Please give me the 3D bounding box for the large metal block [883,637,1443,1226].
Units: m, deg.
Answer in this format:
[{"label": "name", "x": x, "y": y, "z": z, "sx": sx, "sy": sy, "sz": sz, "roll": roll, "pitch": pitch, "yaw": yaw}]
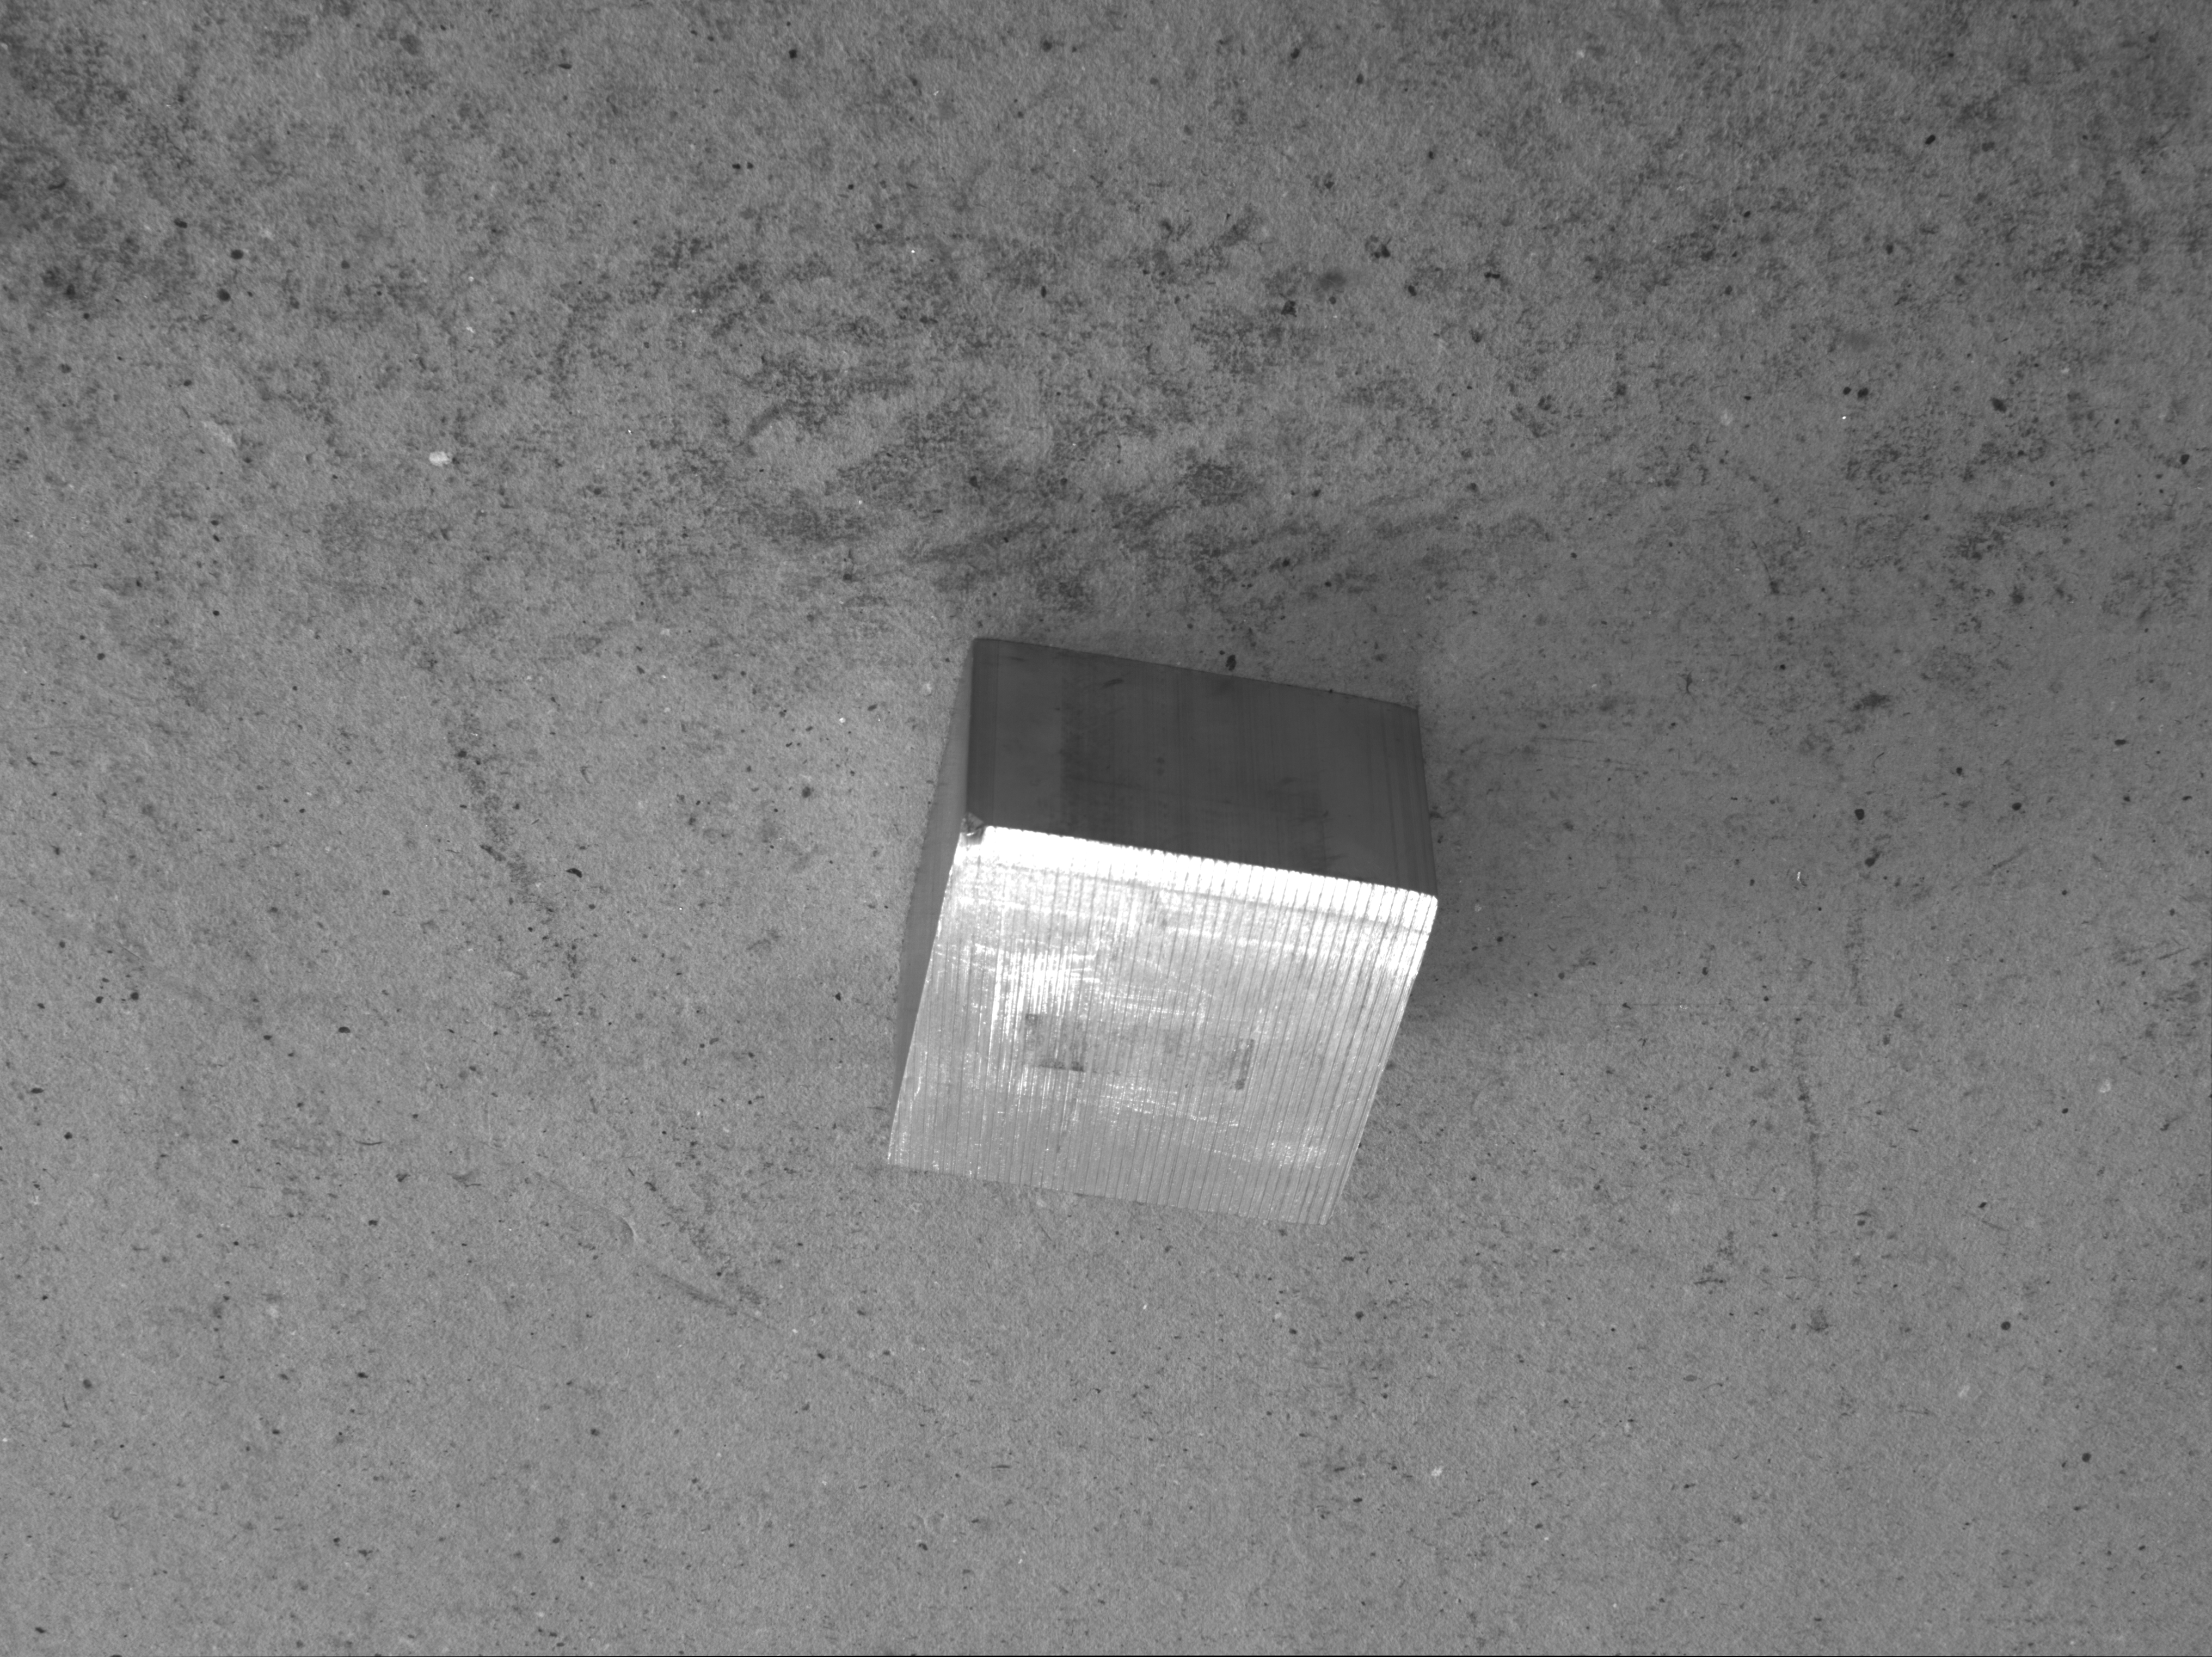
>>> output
[{"label": "large metal block", "x": 0.008, "y": 0.019, "z": 0.640, "sx": 0.080, "sy": 0.050, "sz": 0.080, "roll": 8, "pitch": 130, "yaw": -8}]
